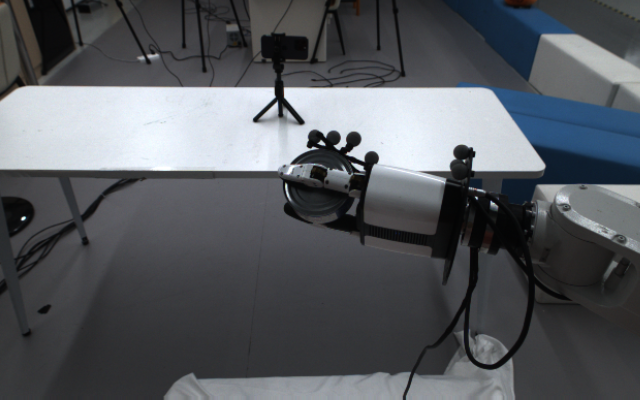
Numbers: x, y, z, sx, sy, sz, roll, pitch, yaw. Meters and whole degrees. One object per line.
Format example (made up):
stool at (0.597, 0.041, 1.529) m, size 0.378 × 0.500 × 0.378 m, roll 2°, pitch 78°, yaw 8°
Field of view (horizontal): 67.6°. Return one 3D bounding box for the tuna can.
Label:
tuna can at (0.002, -0.018, 0.584) m, size 0.085 × 0.034 × 0.085 m, roll -4°, pitch 67°, yaw 10°
